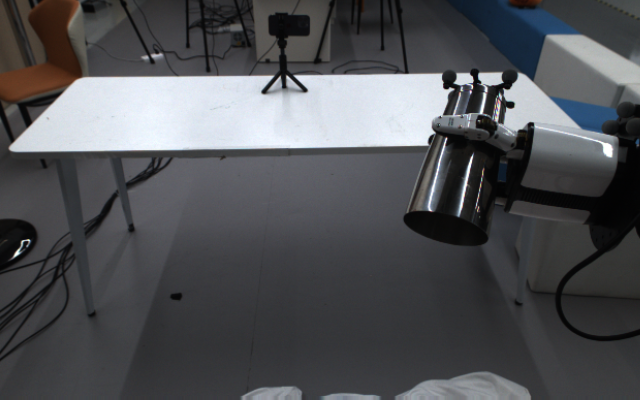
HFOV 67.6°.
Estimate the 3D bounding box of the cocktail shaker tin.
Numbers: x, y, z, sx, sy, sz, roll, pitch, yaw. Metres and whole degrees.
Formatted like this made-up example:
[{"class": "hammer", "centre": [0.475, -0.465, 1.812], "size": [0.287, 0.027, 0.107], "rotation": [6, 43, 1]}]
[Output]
[{"class": "cocktail shaker tin", "centre": [0.161, -0.044, 0.549], "size": [0.093, 0.093, 0.170], "rotation": [14, 70, 16]}]
